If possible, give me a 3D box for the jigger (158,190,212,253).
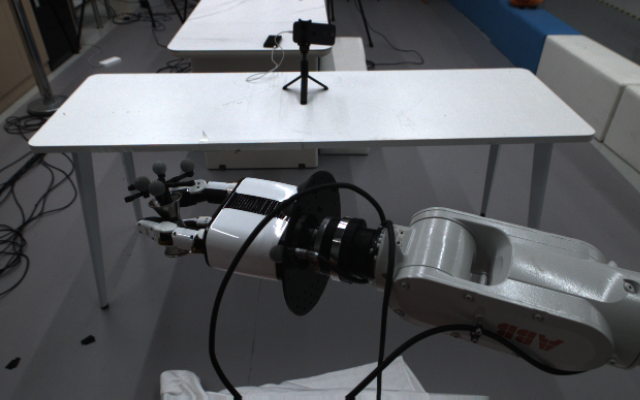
[{"bbox_3d":[-0.174,0.028,0.590,0.043,0.071,0.043,-10,24,4],"label":"jigger"}]
